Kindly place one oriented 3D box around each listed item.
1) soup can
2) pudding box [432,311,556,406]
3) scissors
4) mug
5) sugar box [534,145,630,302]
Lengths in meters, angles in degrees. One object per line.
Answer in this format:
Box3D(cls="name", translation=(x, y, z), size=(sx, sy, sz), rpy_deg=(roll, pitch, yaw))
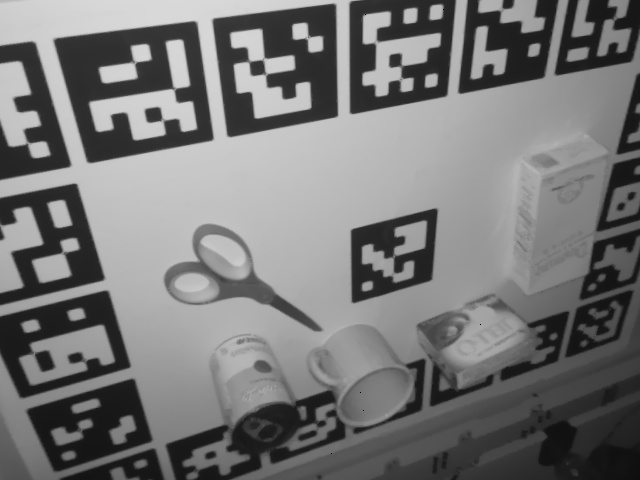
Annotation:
Box3D(cls="soup can", translation=(-0.054, 0.161, 0.708), size=(0.068, 0.102, 0.067), rpy_deg=(-11, 123, -17))
Box3D(cls="pudding box", translation=(0.200, 0.138, 0.799), size=(0.115, 0.090, 0.038), rpy_deg=(-21, 118, -10))
Box3D(cls="scissors", translation=(-0.050, 0.058, 0.694), size=(0.204, 0.016, 0.087), rpy_deg=(36, 90, -33))
Box3D(cls="mug", translation=(0.057, 0.168, 0.764), size=(0.093, 0.081, 0.118), rpy_deg=(-45, 126, 3))
Box3D(cls="sugar box", translation=(0.296, -0.011, 0.793), size=(0.094, 0.045, 0.175), rpy_deg=(-17, 121, -16))
